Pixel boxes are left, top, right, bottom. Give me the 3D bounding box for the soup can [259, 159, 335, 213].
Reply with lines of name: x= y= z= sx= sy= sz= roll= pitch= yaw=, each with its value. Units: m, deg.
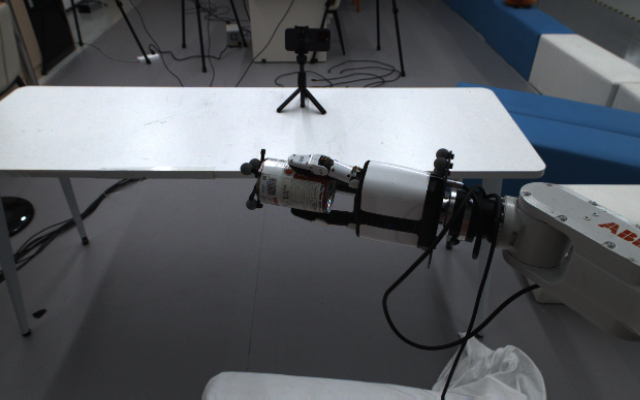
soup can: x=-0.030 y=-0.020 z=0.689 sx=0.101 sy=0.067 sz=0.067 roll=9 pitch=35 yaw=9
